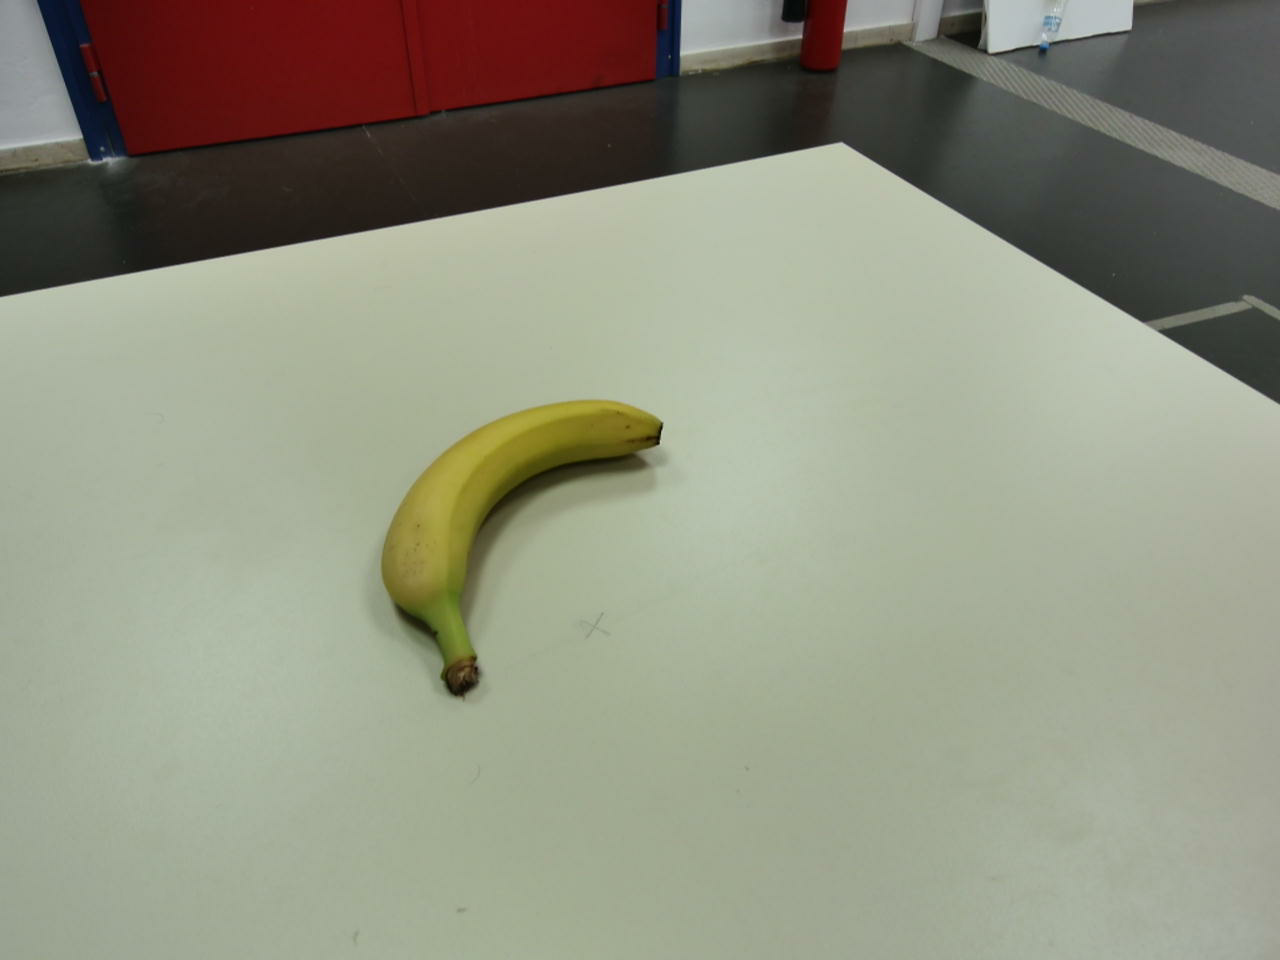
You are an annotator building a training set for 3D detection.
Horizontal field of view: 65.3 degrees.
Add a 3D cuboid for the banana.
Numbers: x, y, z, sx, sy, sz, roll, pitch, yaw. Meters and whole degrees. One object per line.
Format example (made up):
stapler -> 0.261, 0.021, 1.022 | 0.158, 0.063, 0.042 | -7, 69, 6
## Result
banana -> -0.070, 0.012, 0.503 | 0.094, 0.041, 0.196 | 19, 42, 22
